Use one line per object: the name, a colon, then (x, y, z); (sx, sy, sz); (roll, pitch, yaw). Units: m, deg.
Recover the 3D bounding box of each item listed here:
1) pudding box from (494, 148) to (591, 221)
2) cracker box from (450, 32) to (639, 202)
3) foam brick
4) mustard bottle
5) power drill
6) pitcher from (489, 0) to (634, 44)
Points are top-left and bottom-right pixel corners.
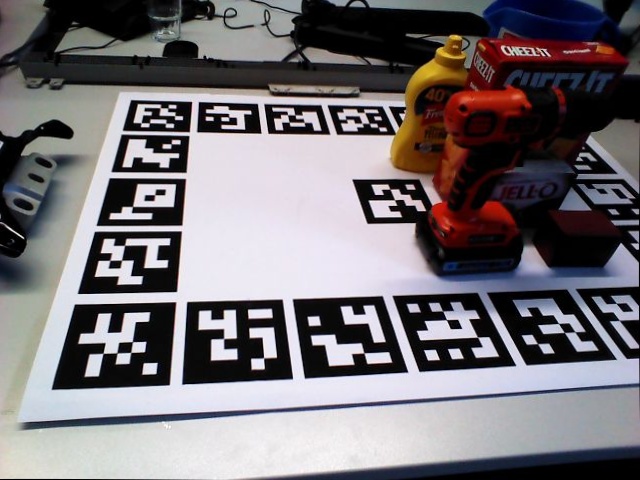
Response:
pudding box: (0.265, -0.069, 0.652); (0.114, 0.090, 0.038); (-2, 42, -5)
cracker box: (0.271, -0.142, 0.652); (0.164, 0.214, 0.071); (-4, 42, -7)
foam brick: (0.326, -0.002, 0.635); (0.078, 0.051, 0.052); (1, 45, -6)
mustard bottle: (0.174, -0.204, 0.719); (0.096, 0.192, 0.058); (8, 44, 2)
power drill: (0.215, -0.077, 0.553); (0.184, 0.188, 0.057); (-1, 40, -9)
pitcher: (0.307, -0.215, 0.728); (0.189, 0.243, 0.132); (2, 43, -1)
